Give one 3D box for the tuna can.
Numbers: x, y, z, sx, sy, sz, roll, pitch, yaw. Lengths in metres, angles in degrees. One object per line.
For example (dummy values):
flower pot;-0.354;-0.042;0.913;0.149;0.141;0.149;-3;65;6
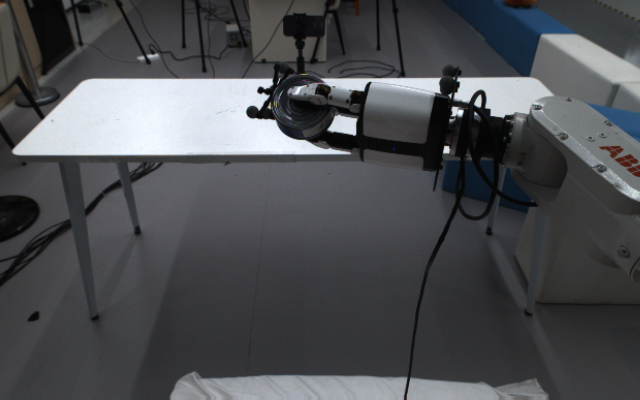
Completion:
tuna can;-0.020;-0.125;0.662;0.085;0.034;0.085;-1;73;4
